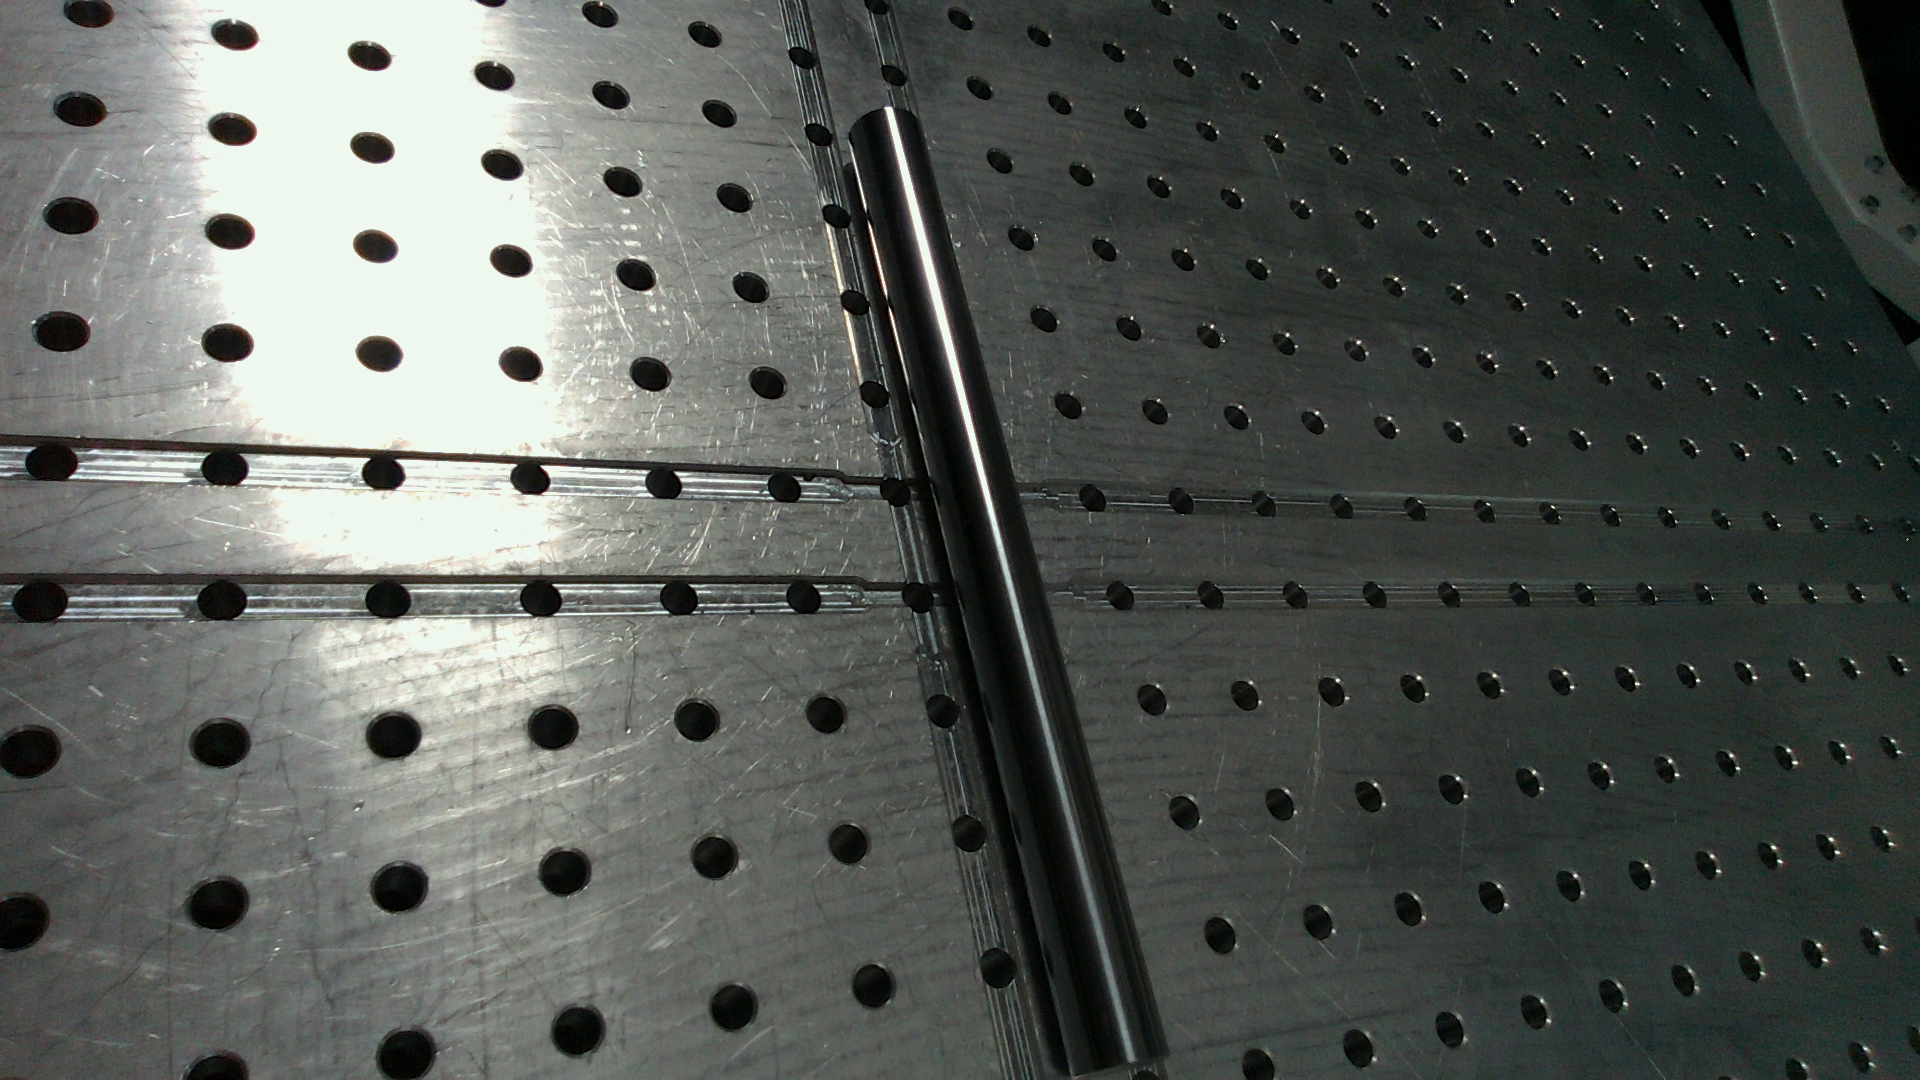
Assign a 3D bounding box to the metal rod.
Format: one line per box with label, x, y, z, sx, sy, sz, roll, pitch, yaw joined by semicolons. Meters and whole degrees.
metal rod;0.007;-0.004;0.398;0.025;0.025;0.300;0;61;-28
